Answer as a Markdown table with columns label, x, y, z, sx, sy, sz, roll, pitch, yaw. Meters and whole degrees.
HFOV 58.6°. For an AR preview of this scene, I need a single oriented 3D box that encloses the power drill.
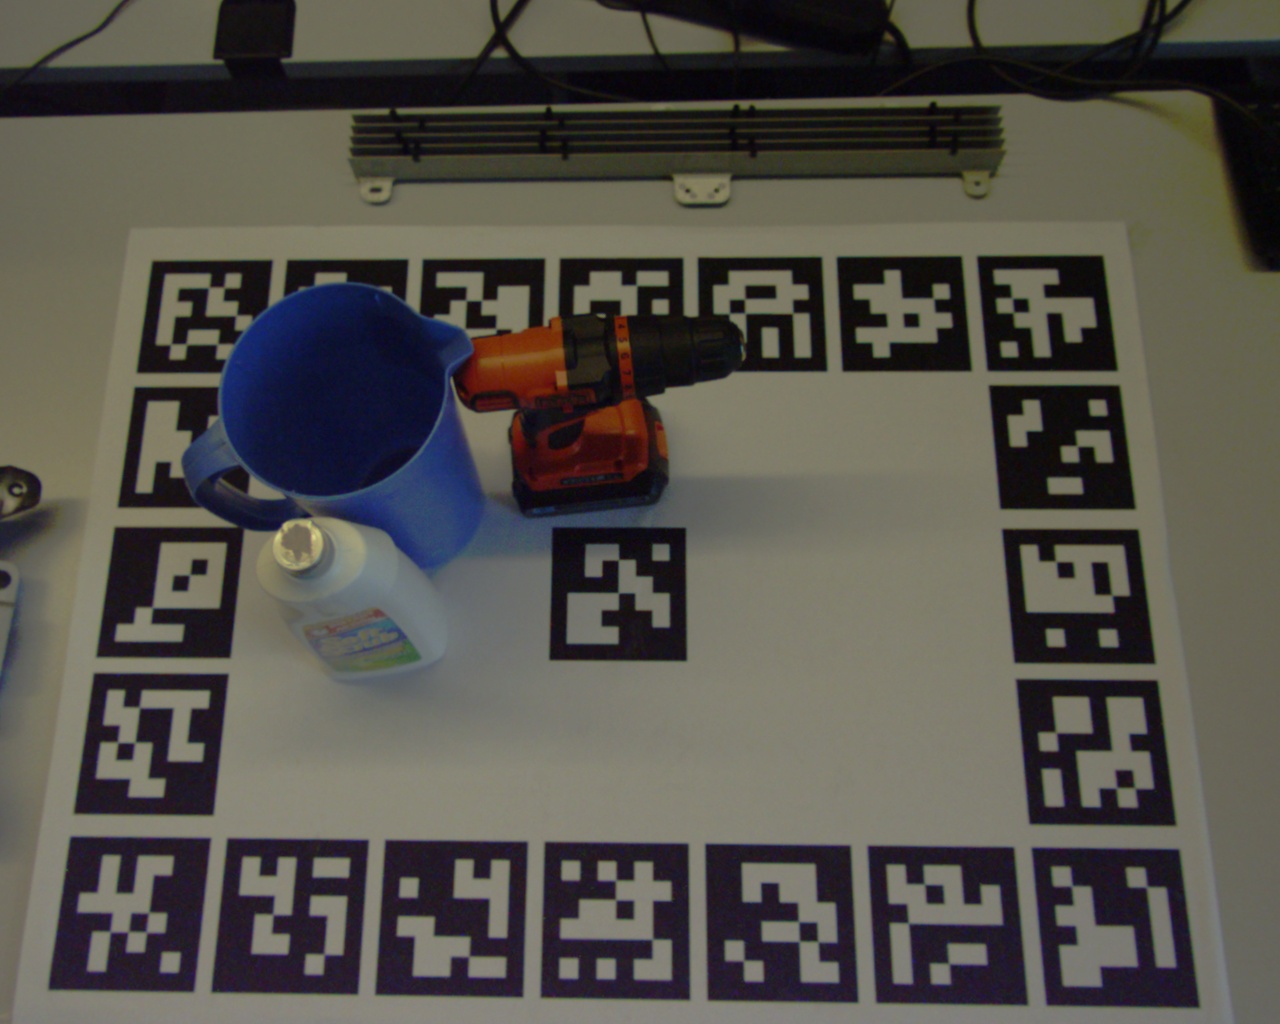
| label | x | y | z | sx | sy | sz | roll | pitch | yaw |
| --- | --- | --- | --- | --- | --- | --- | --- | --- | --- |
| power drill | -0.019 | -0.060 | 0.795 | 0.184 | 0.187 | 0.057 | -5 | 78 | -6 |

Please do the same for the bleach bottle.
| label | x | y | z | sx | sy | sz | roll | pitch | yaw |
| --- | --- | --- | --- | --- | --- | --- | --- | --- | --- |
| bleach bottle | -0.196 | 0.053 | 0.739 | 0.102 | 0.250 | 0.068 | -9 | 75 | -1 |

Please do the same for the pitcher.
| label | x | y | z | sx | sy | sz | roll | pitch | yaw |
| --- | --- | --- | --- | --- | --- | --- | --- | --- | --- |
| pitcher | -0.187 | -0.041 | 0.785 | 0.188 | 0.242 | 0.134 | -27 | 78 | -6 |
